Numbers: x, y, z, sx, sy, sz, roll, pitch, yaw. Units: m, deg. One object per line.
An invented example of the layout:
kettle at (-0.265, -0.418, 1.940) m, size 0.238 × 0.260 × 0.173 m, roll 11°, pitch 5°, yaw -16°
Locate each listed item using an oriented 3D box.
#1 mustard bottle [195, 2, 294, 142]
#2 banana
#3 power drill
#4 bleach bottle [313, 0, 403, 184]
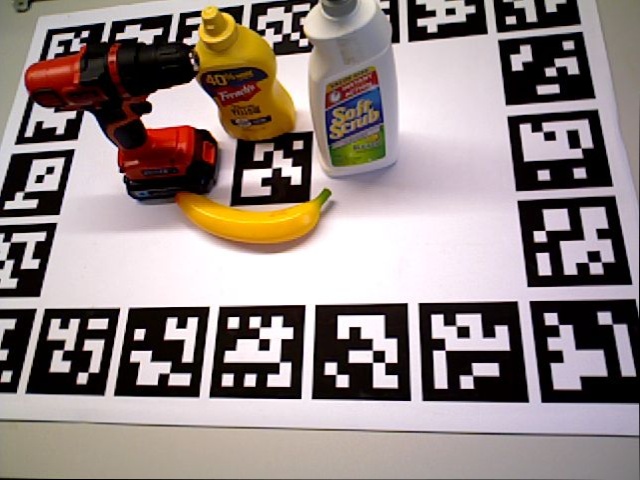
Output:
mustard bottle at (-0.091, -0.187, 0.613) m, size 0.096 × 0.193 × 0.058 m, roll -2°, pitch 67°, yaw 8°
banana at (-0.077, -0.025, 0.629) m, size 0.198 × 0.039 × 0.074 m, roll -1°, pitch 73°, yaw 13°
power drill at (-0.195, -0.133, 0.592) m, size 0.184 × 0.190 × 0.056 m, roll -5°, pitch 60°, yaw 5°
bleach bottle at (0.033, -0.148, 0.551) m, size 0.102 × 0.253 × 0.067 m, roll -10°, pitch 67°, yaw 5°
